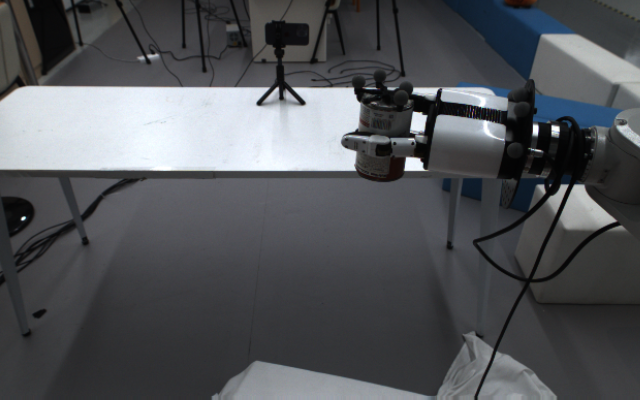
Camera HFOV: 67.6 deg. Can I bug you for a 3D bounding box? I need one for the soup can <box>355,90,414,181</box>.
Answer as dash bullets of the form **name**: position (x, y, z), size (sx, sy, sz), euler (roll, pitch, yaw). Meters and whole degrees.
- **soup can**: position (0.083, -0.084, 0.630), size (0.067, 0.101, 0.067), euler (2, 32, -1)
